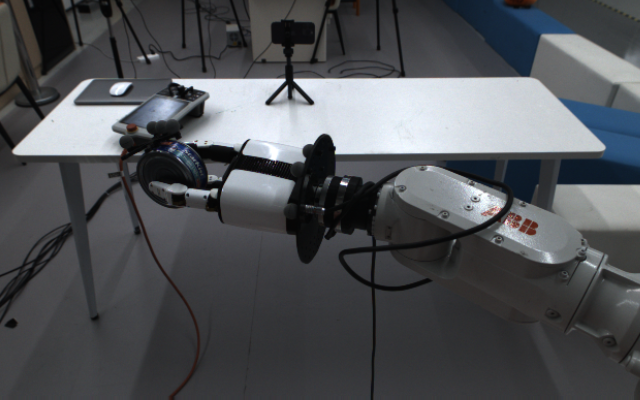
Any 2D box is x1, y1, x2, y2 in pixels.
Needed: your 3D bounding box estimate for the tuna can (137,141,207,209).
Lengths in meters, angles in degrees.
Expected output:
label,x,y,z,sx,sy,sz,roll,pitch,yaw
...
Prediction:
label,x,y,z,sx,sy,sz,roll,pitch,yaw
tuna can,-0.188,-0.026,0.621,0.085,0.085,0.034,11,34,13
